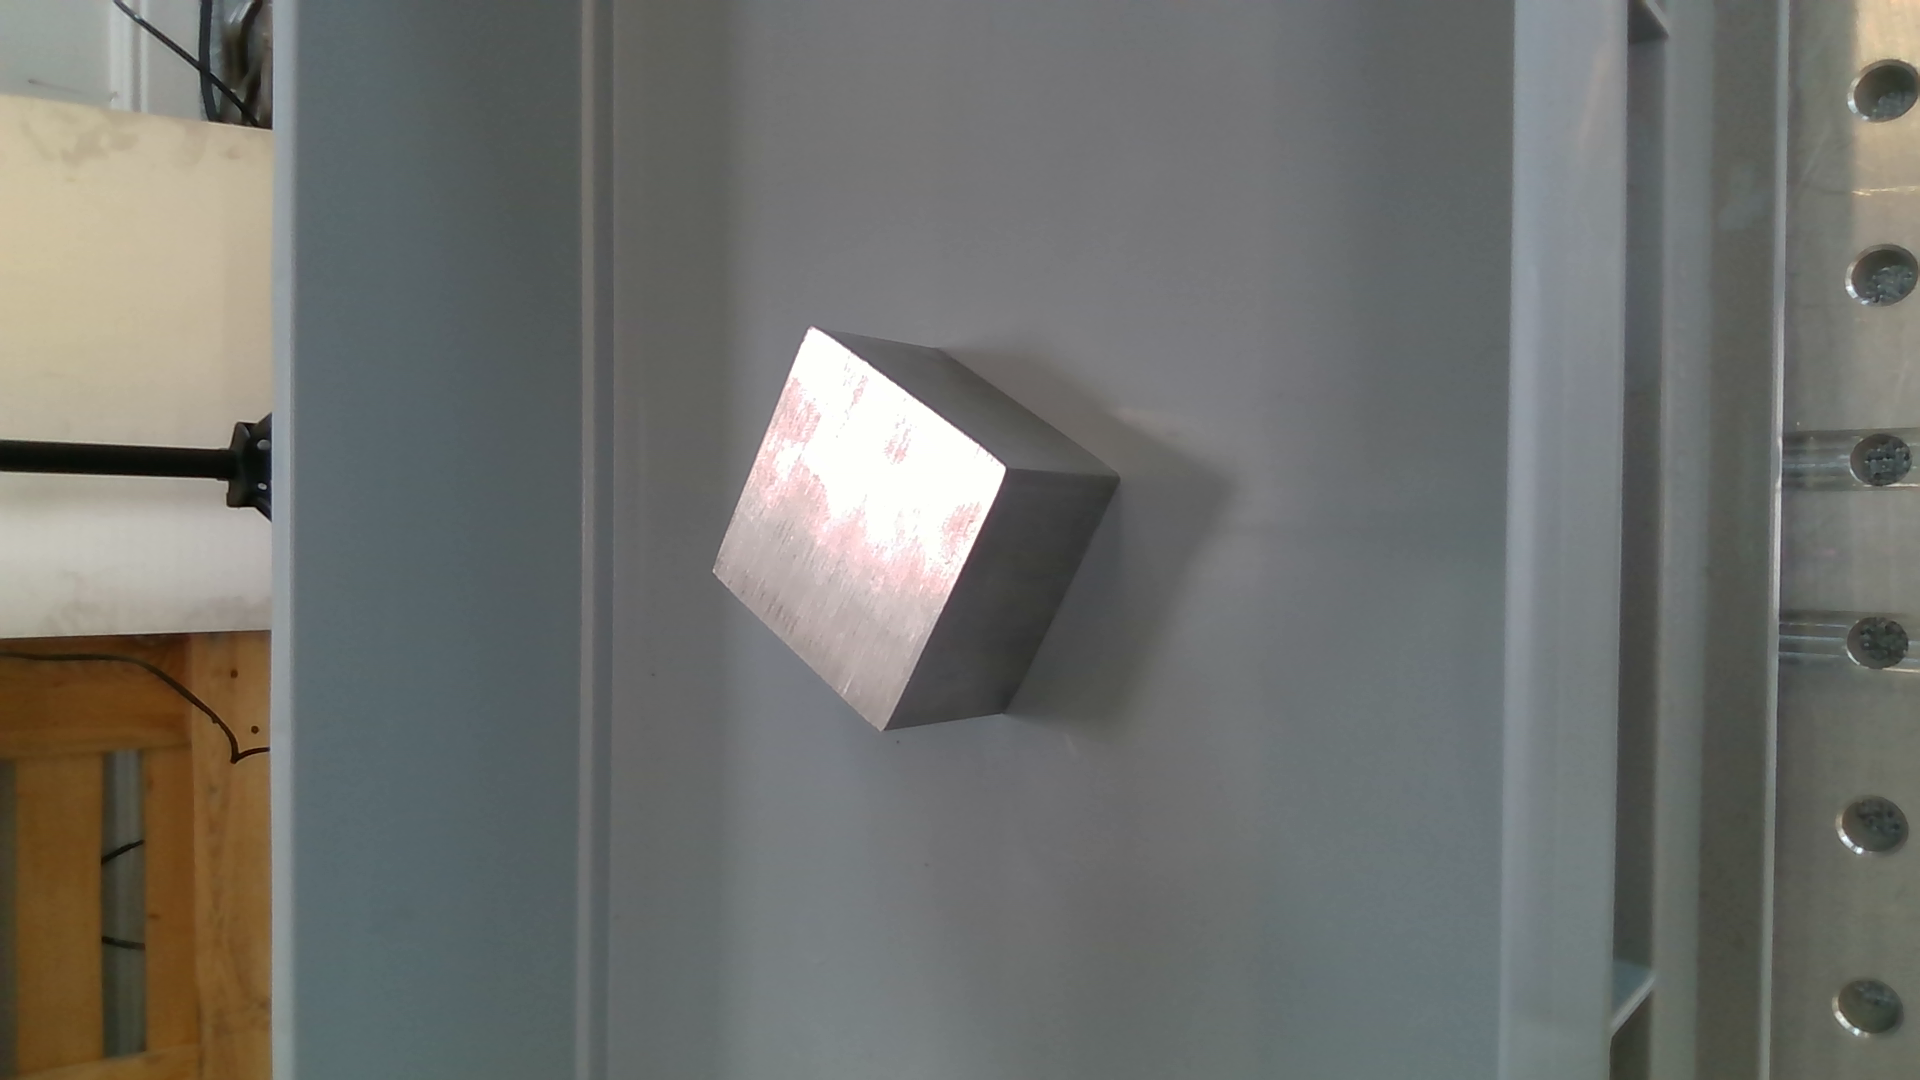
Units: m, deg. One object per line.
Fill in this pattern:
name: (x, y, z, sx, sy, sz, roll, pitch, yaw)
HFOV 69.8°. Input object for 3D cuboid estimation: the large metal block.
large metal block: (-0.015, -0.005, 0.383, 0.080, 0.050, 0.080, 38, 114, 33)
